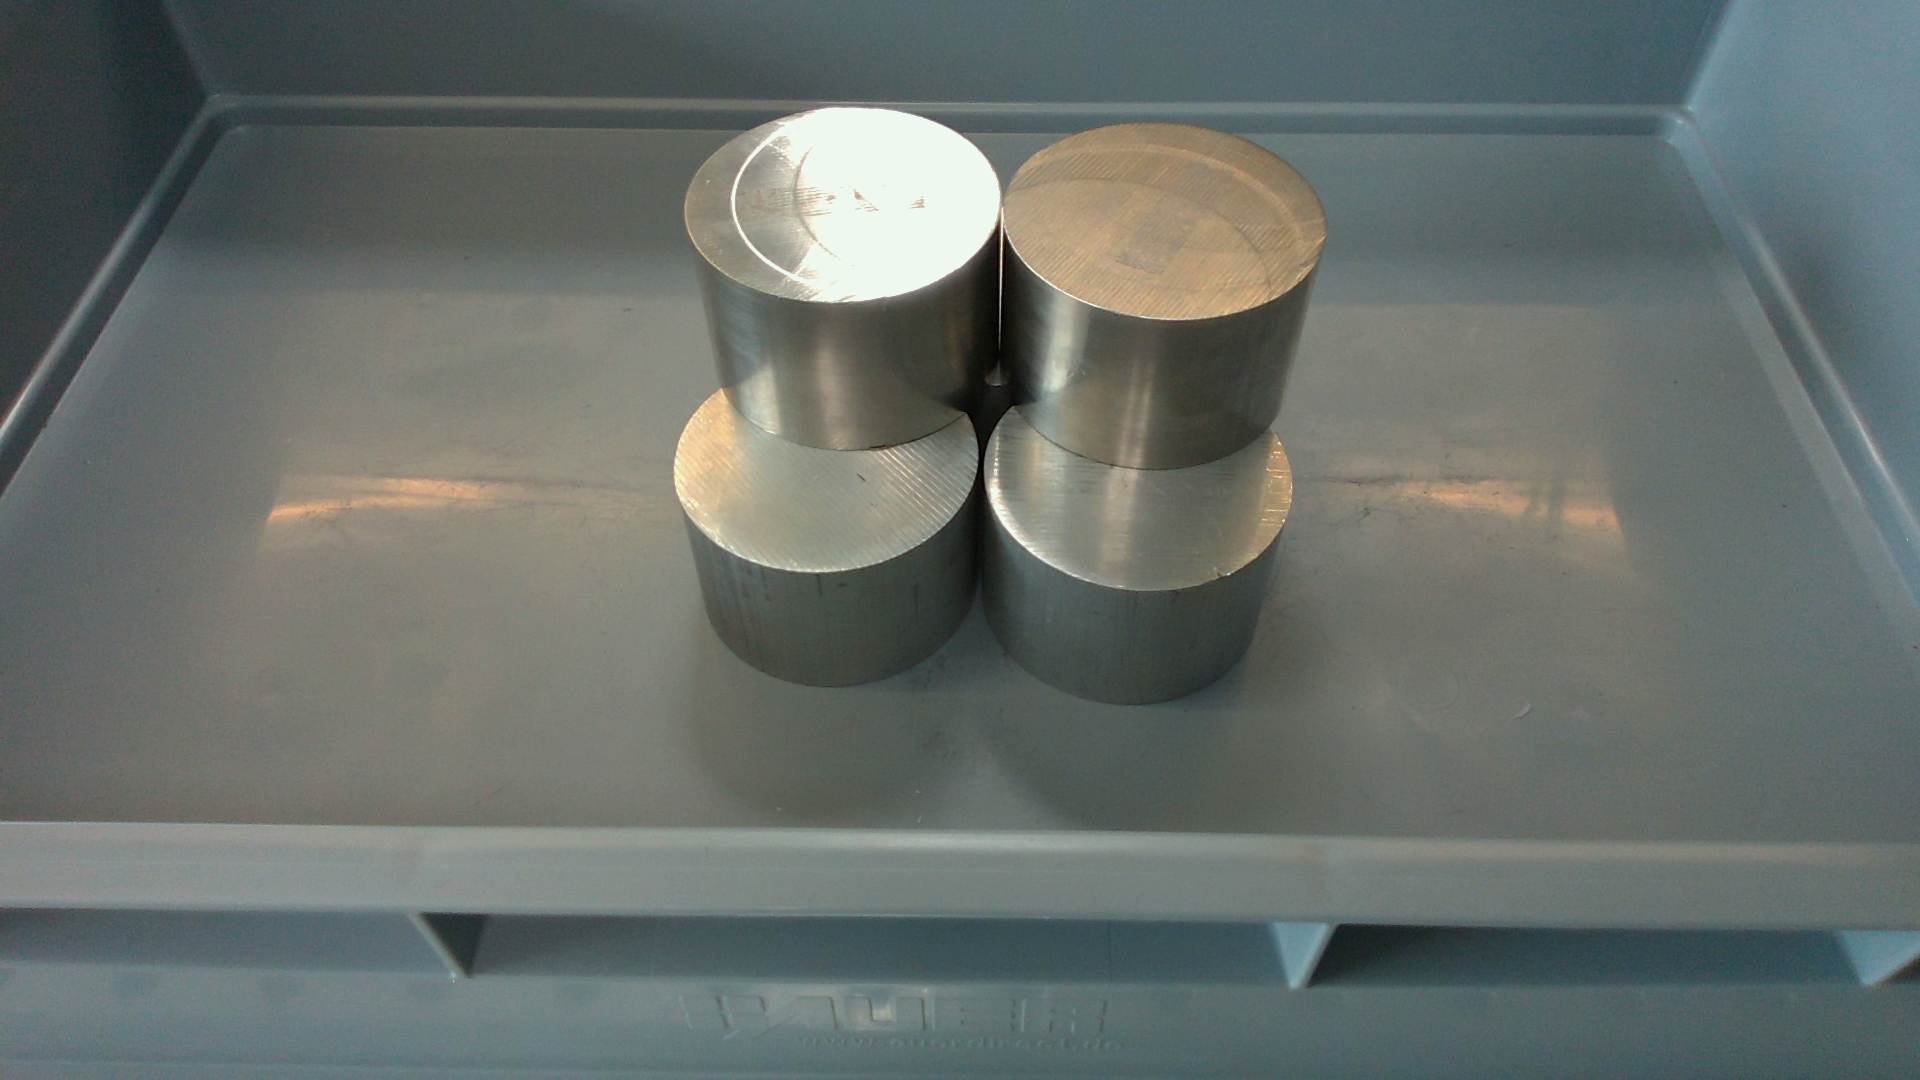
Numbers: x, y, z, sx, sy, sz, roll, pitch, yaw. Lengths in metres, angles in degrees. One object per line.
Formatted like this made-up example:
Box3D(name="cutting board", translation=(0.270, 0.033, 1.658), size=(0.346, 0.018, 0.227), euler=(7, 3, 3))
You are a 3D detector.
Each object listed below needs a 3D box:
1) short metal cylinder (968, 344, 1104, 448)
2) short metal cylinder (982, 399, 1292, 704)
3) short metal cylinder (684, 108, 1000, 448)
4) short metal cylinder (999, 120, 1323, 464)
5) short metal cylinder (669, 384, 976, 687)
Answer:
Box3D(name="short metal cylinder", translation=(0.009, -0.058, 0.423), size=(0.080, 0.050, 0.080), euler=(0, 50, 0))
Box3D(name="short metal cylinder", translation=(0.046, -0.003, 0.376), size=(0.080, 0.050, 0.080), euler=(0, 50, 0))
Box3D(name="short metal cylinder", translation=(-0.030, -0.071, 0.368), size=(0.080, 0.050, 0.080), euler=(0, 50, 0))
Box3D(name="short metal cylinder", translation=(0.051, -0.066, 0.363), size=(0.080, 0.050, 0.080), euler=(0, 50, 0))
Box3D(name="short metal cylinder", translation=(-0.036, -0.007, 0.379), size=(0.080, 0.050, 0.080), euler=(0, 50, 0))
